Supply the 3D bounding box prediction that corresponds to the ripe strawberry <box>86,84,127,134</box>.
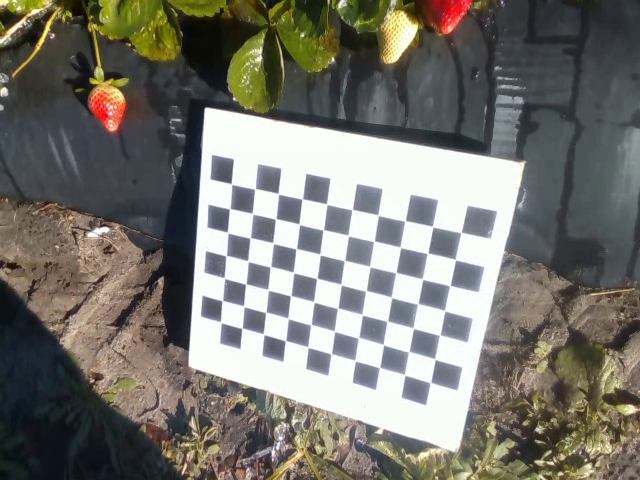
[{"bbox_3d":[-0.202,-0.125,0.615,0.039,0.053,0.040,-10,-6,23],"label":"ripe strawberry"}]
